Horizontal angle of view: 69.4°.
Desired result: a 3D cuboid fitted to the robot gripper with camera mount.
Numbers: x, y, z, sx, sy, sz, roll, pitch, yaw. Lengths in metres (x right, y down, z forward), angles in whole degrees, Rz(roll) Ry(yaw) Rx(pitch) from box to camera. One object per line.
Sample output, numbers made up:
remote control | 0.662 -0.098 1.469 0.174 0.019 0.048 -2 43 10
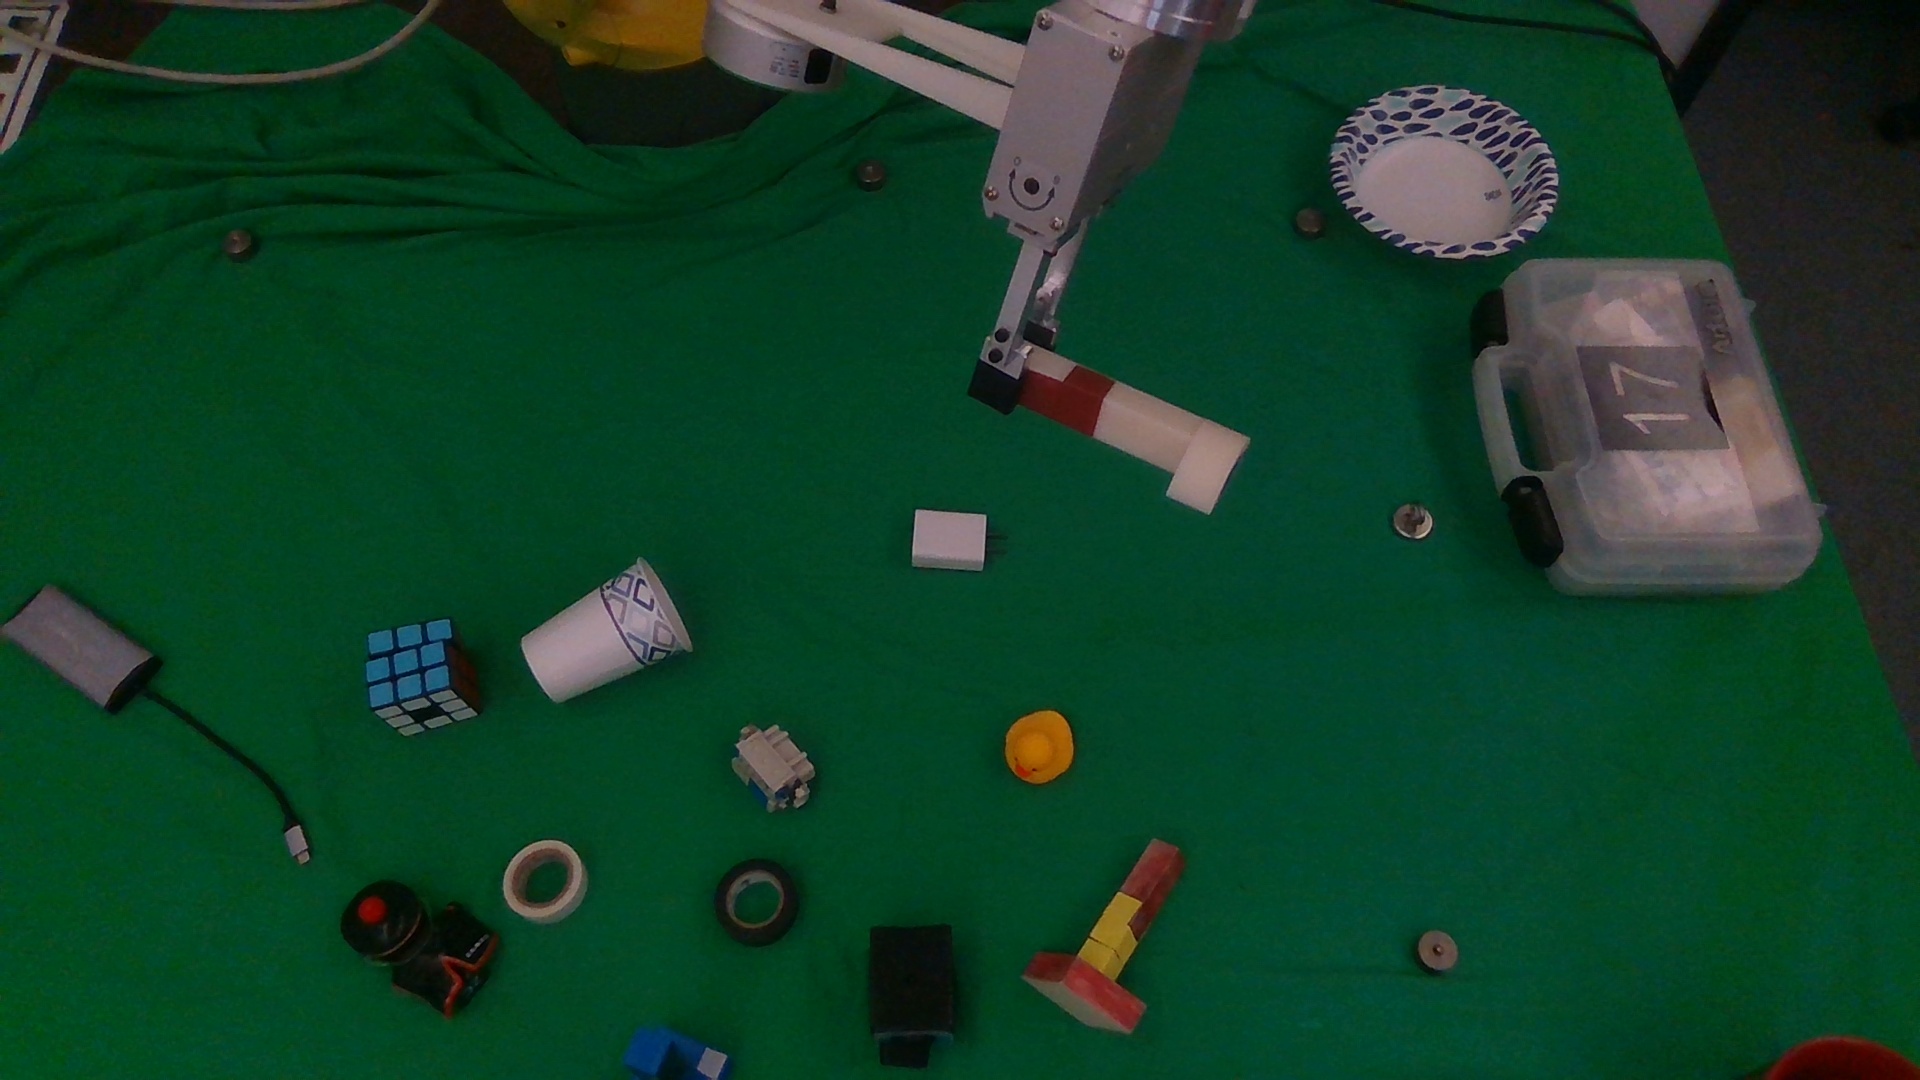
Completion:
robot gripper with camera mount | -0.034 -0.164 0.577 0.193 0.159 0.118 24 35 11

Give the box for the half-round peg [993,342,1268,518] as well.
half-round peg | 0.070 -0.053 0.592 0.122 0.031 0.054 25 35 14
